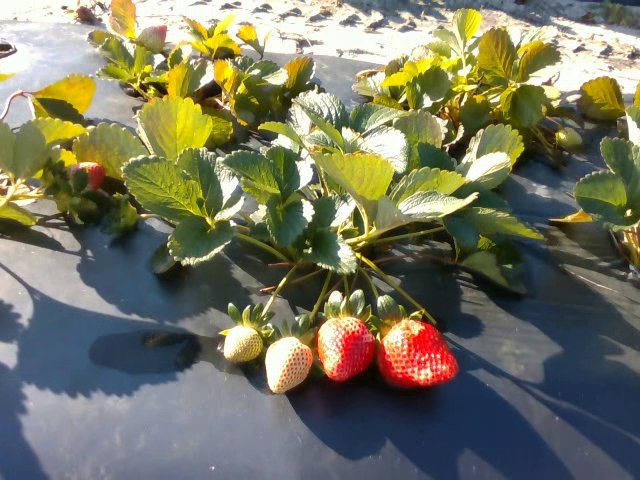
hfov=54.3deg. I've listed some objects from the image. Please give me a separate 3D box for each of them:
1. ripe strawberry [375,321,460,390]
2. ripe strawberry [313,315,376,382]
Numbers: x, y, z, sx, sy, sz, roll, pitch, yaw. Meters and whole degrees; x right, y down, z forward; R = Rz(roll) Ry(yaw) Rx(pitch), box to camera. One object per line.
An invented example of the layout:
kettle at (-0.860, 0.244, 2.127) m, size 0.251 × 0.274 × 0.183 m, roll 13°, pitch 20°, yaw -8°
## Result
ripe strawberry at (0.069, 0.078, 0.400) m, size 0.056 × 0.052 × 0.067 m, roll -41°, pitch 30°, yaw -15°
ripe strawberry at (0.015, 0.073, 0.400) m, size 0.050 × 0.044 × 0.061 m, roll 33°, pitch 29°, yaw -1°
